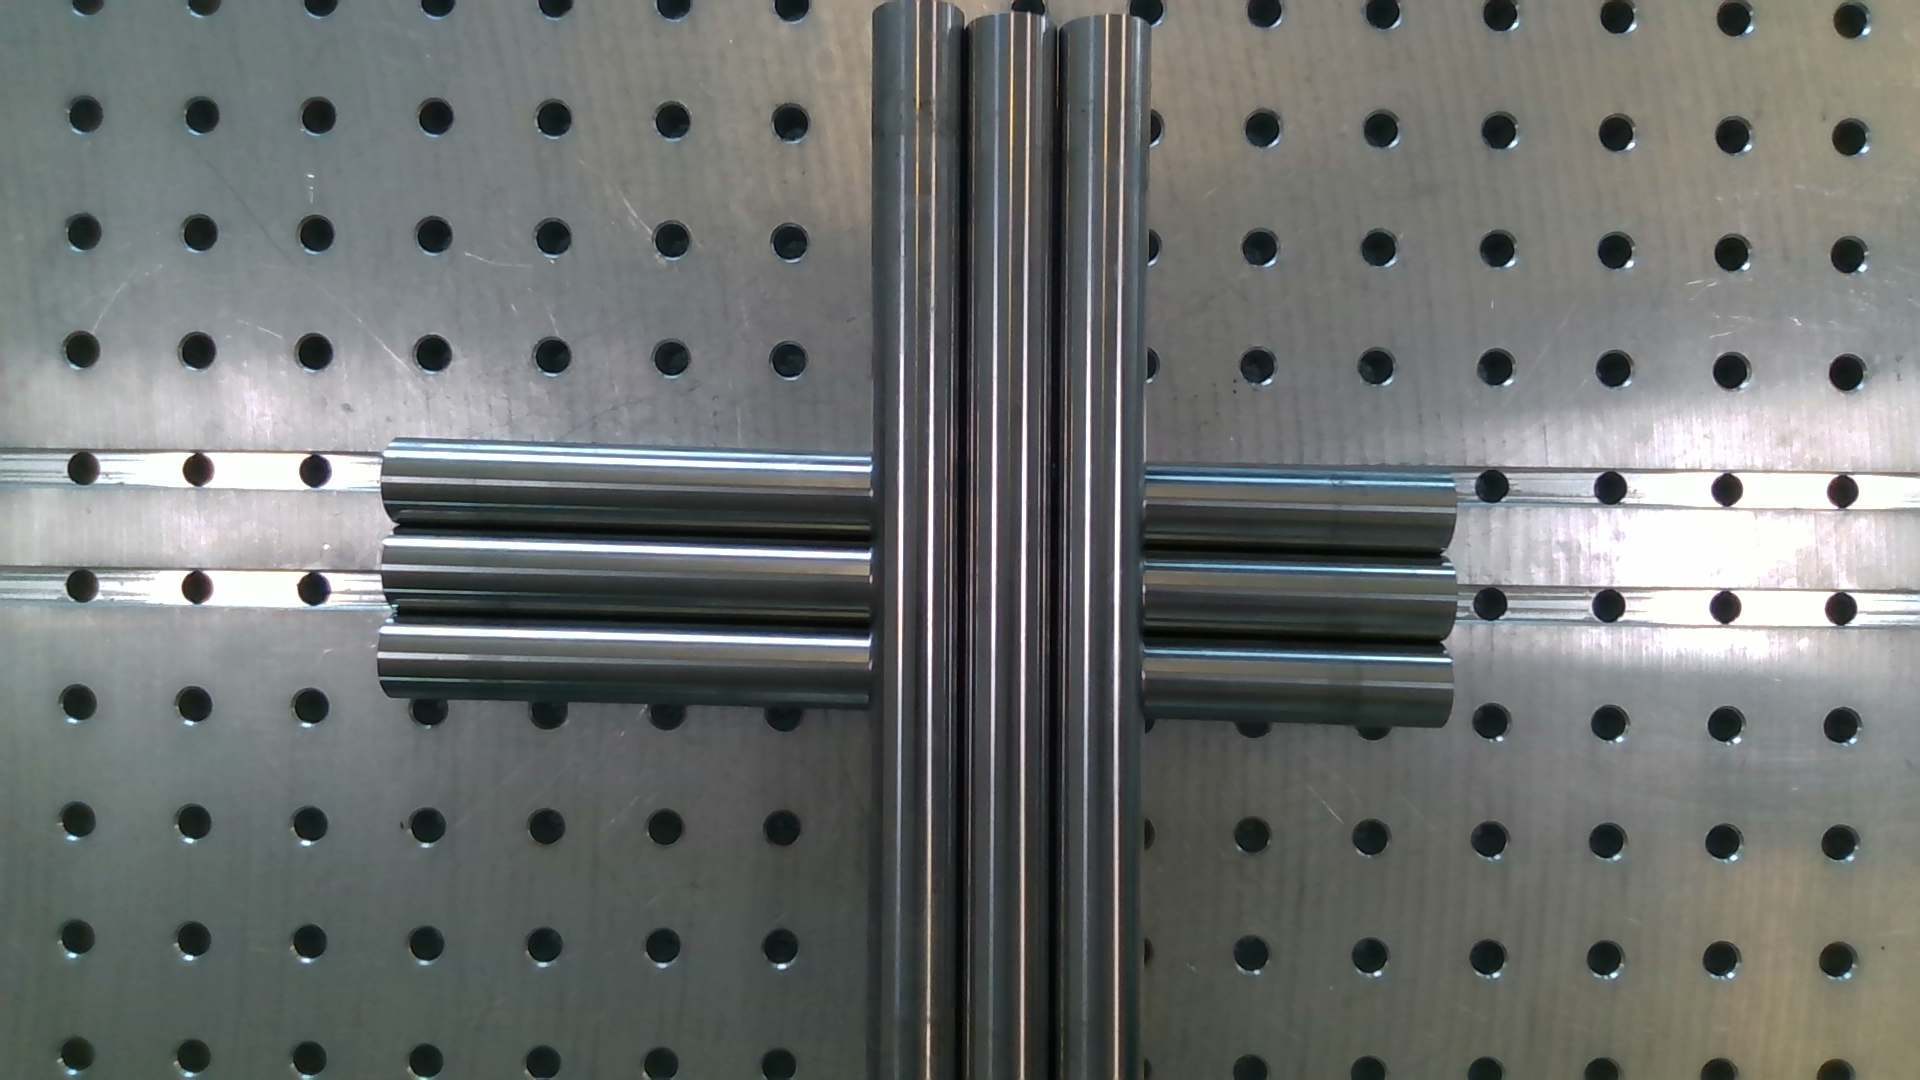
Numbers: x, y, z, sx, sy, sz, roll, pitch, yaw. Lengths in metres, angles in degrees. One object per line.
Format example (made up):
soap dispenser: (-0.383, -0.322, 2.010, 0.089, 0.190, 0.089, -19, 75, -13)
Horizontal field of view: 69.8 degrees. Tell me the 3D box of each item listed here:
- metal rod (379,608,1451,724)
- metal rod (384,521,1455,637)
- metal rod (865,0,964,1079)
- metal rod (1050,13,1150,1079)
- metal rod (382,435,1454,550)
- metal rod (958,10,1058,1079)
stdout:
metal rod: (-0.012, 0.036, 0.398, 0.300, 0.025, 0.025, 2, 90, 0)
metal rod: (-0.011, 0.011, 0.398, 0.300, 0.025, 0.025, 2, 90, 0)
metal rod: (-0.012, 0.008, 0.372, 0.025, 0.025, 0.300, 0, 90, 0)
metal rod: (0.038, 0.012, 0.373, 0.025, 0.025, 0.300, 0, 90, 0)
metal rod: (-0.012, -0.013, 0.398, 0.300, 0.025, 0.025, 2, 90, 0)
metal rod: (0.013, 0.012, 0.373, 0.025, 0.025, 0.300, 0, 90, 0)
